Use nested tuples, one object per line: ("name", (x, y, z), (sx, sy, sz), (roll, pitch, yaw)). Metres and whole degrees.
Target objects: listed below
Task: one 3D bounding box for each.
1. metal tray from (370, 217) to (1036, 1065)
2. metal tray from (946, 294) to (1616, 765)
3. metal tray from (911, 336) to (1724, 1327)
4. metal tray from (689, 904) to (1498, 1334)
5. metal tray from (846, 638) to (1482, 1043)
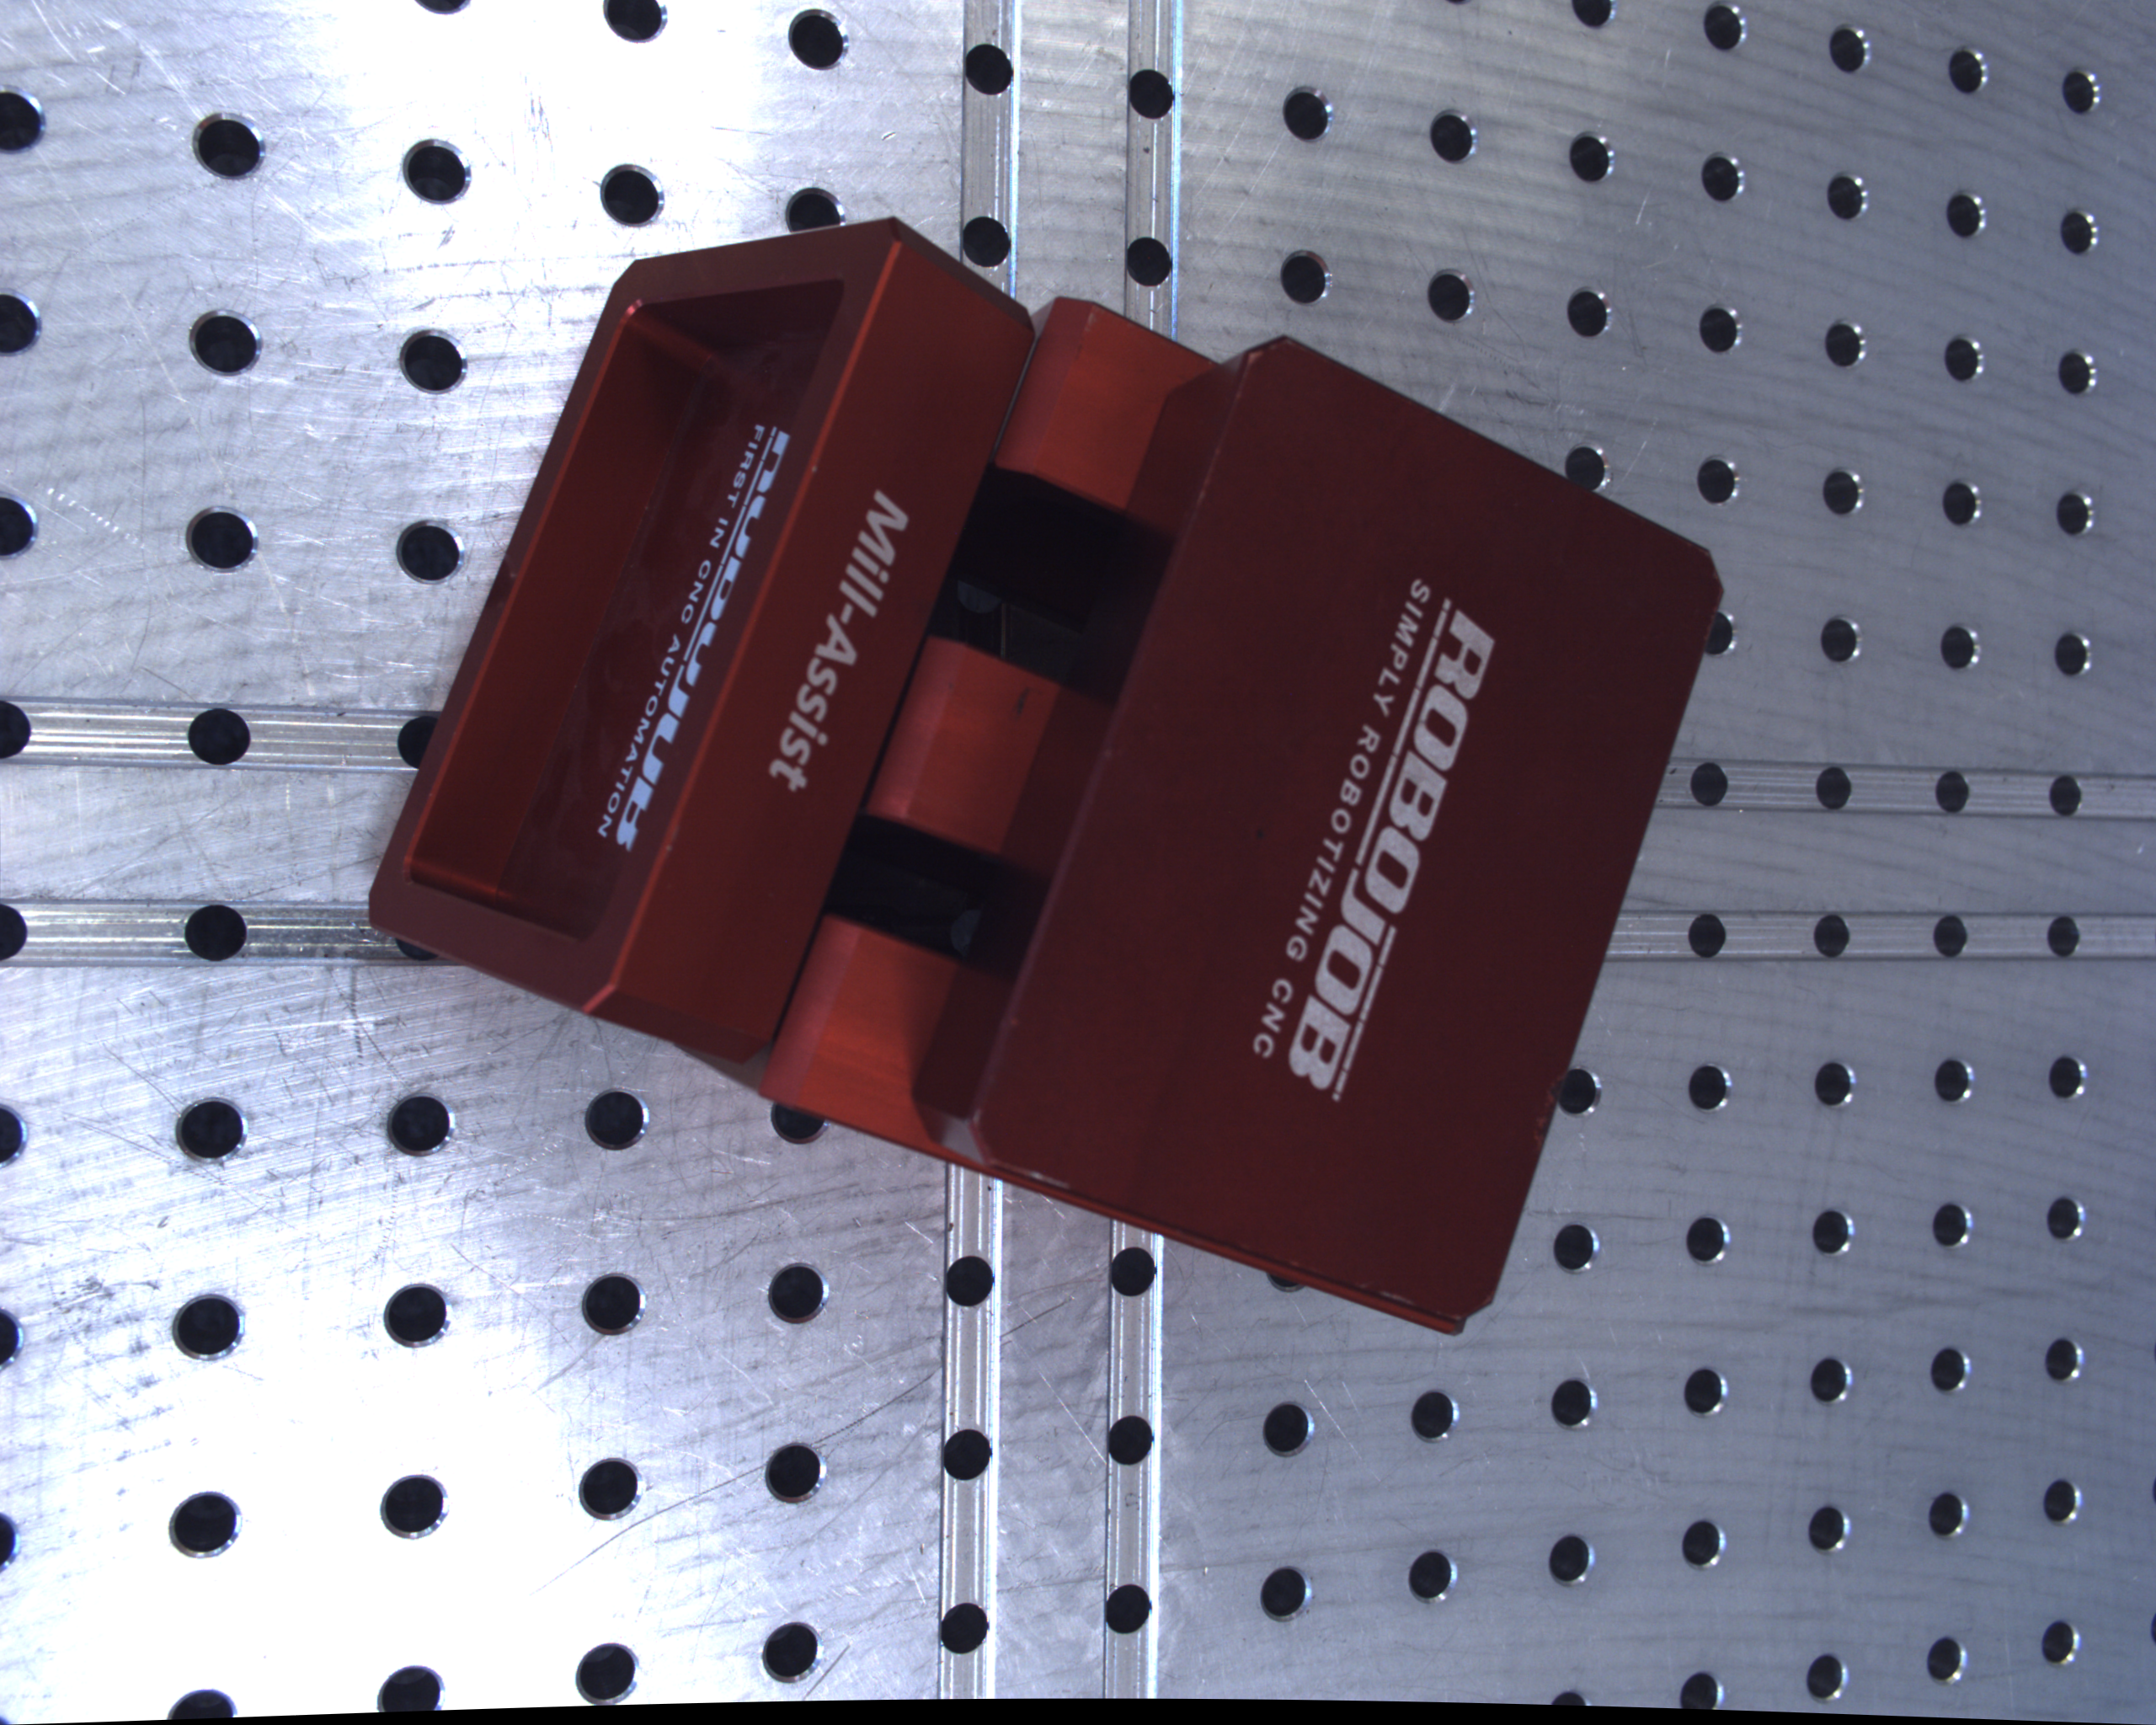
("metal tray", (-0.066, -0.039, 0.351), (0.030, 0.090, 0.130), (26, 81, -40))
("metal tray", (0.036, -0.055, 0.390), (0.131, 0.090, 0.030), (22, 84, -18))
("metal tray", (0.039, -0.004, 0.327), (0.090, 0.030, 0.130), (22, 83, -19))
("metal tray", (0.000, 0.044, 0.377), (0.131, 0.090, 0.030), (22, 83, -19))
("metal tray", (0.016, 0.001, 0.382), (0.131, 0.090, 0.030), (21, 82, -20))
